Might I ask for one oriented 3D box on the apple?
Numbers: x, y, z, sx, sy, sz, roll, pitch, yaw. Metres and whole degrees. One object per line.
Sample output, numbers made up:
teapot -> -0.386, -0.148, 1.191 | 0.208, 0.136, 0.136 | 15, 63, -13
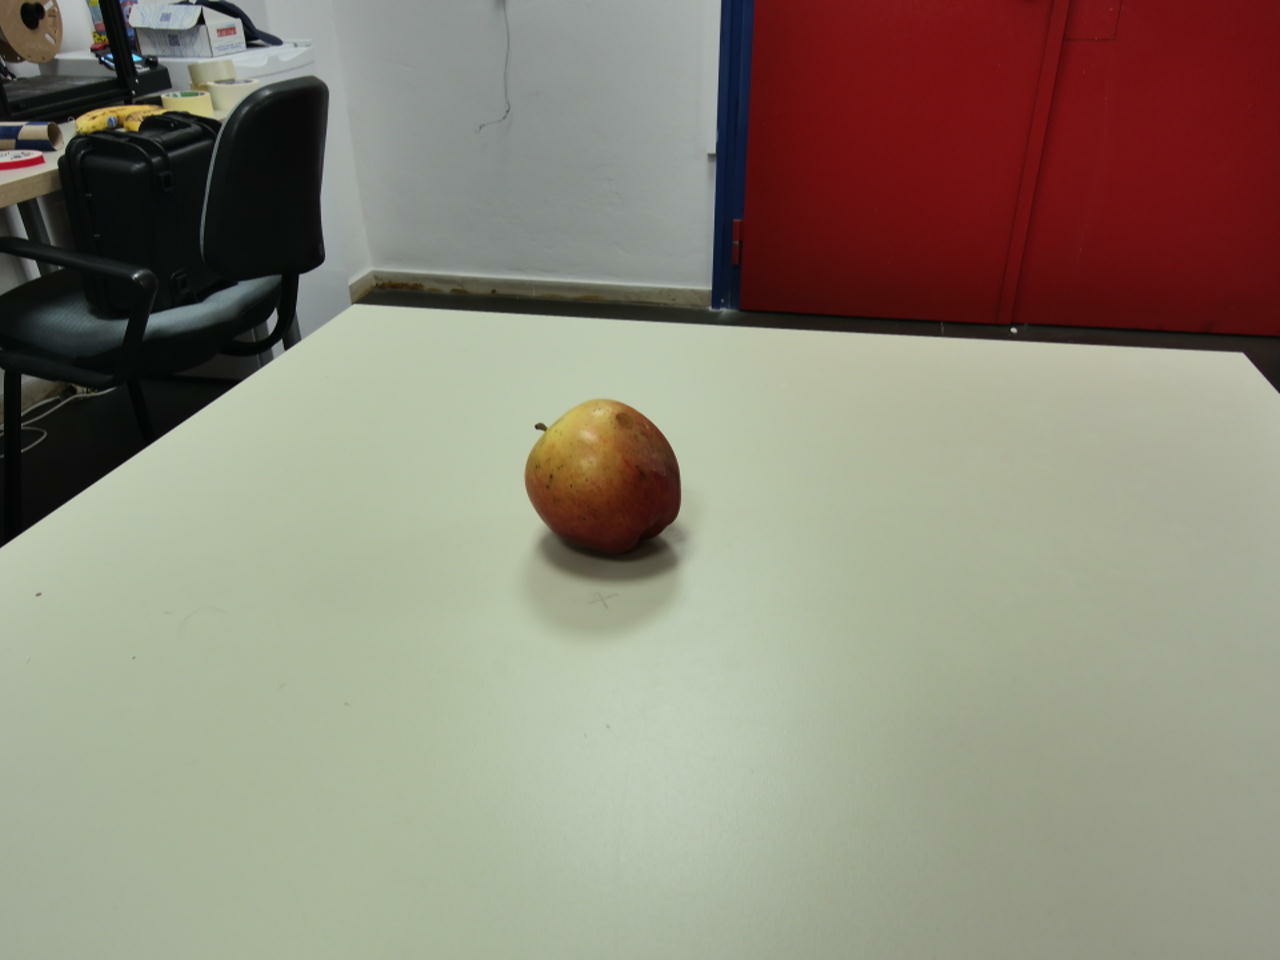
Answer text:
apple -> -0.022, -0.002, 0.576 | 0.086, 0.084, 0.093 | -11, 28, -21
